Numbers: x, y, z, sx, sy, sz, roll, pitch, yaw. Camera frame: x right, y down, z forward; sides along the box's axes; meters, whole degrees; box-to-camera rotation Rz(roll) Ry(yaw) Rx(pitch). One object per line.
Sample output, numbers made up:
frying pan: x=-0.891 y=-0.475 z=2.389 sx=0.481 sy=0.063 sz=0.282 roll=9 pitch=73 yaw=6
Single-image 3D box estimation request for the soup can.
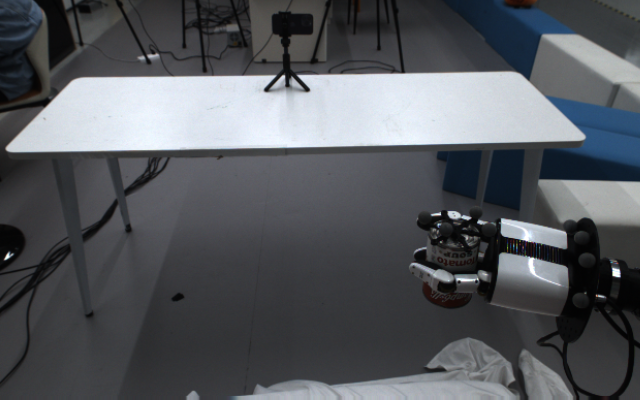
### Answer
soup can: x=0.177 y=0.084 z=0.650 sx=0.067 sy=0.101 sz=0.067 roll=-2 pitch=33 yaw=1
